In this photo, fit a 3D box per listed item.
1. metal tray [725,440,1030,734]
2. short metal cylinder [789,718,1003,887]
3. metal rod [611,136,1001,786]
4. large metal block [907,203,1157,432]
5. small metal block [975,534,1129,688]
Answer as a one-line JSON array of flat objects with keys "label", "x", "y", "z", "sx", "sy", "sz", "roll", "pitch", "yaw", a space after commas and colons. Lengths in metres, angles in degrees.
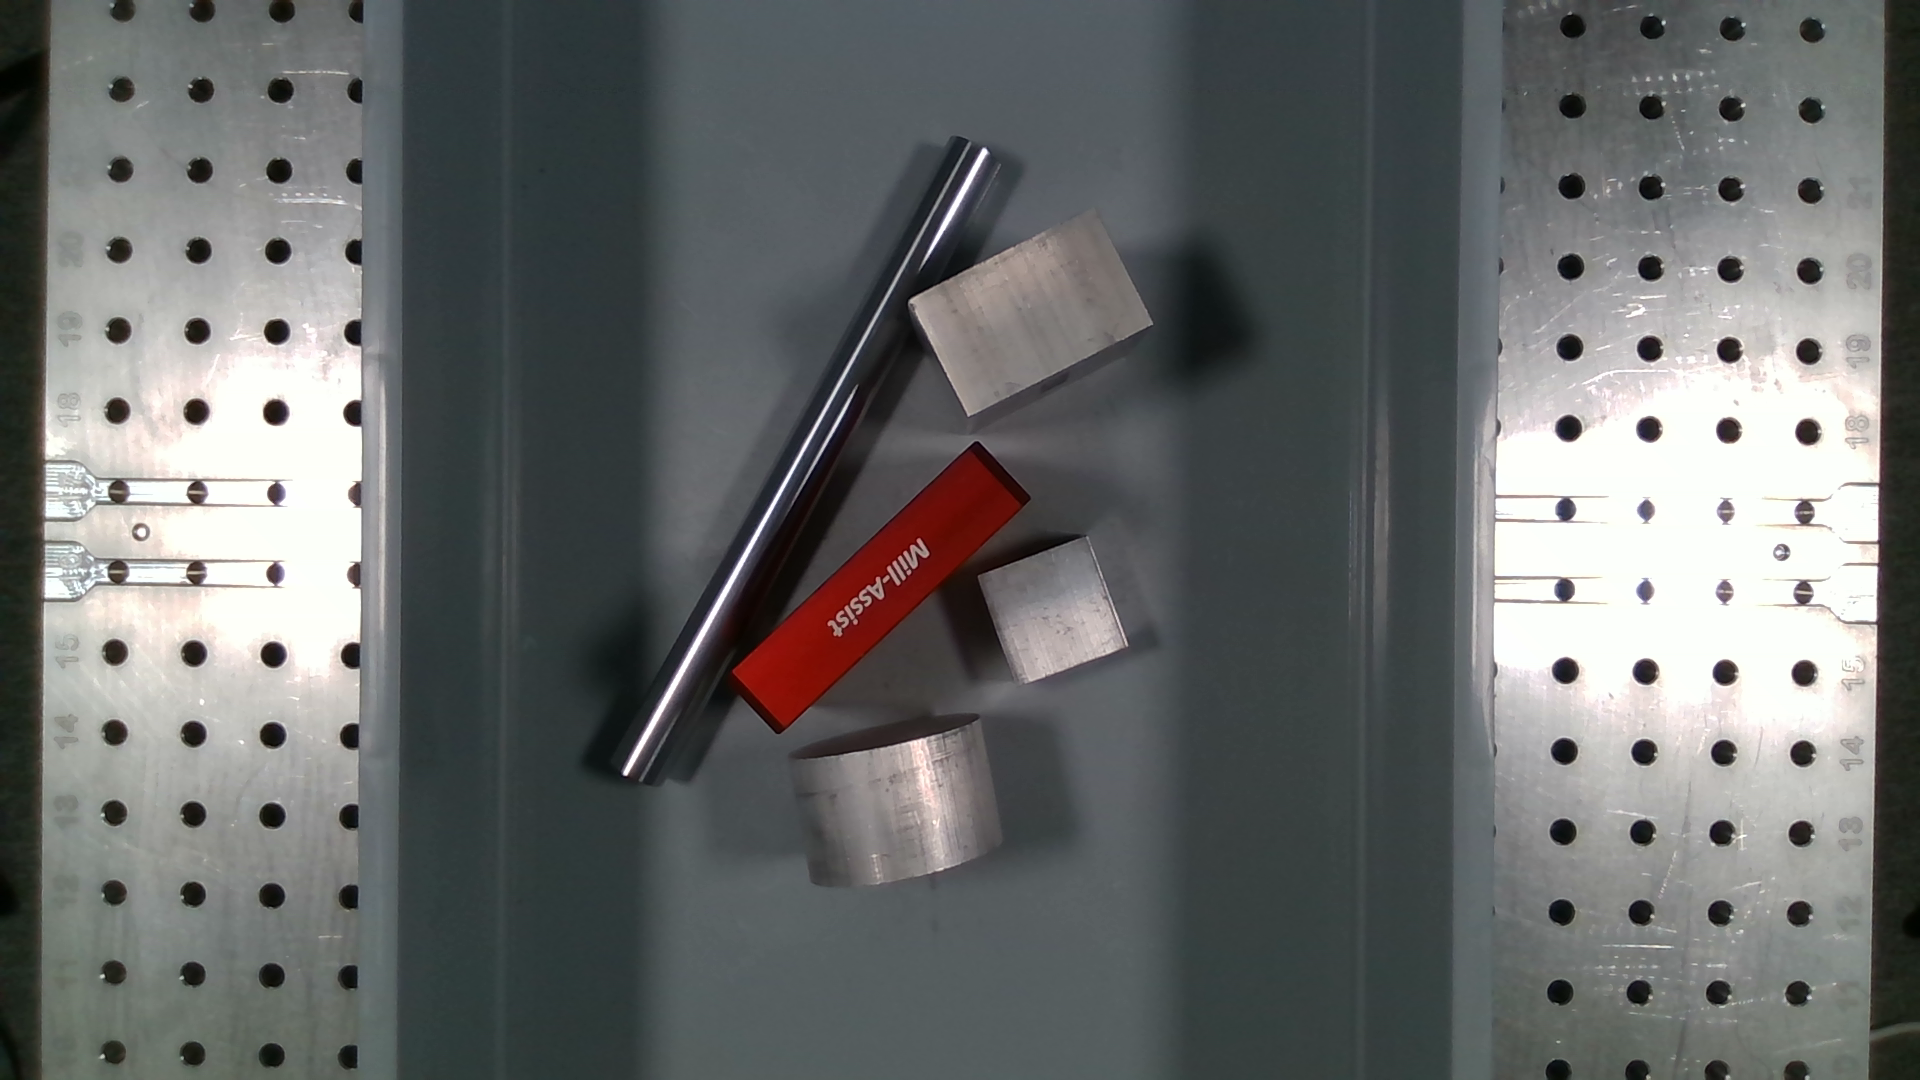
[{"label": "metal tray", "x": -0.031, "y": 0.017, "z": 0.553, "sx": 0.130, "sy": 0.090, "sz": 0.030, "roll": -43, "pitch": 91, "yaw": 0}, {"label": "short metal cylinder", "x": -0.026, "y": 0.104, "z": 0.559, "sx": 0.080, "sy": 0.080, "sz": 0.050, "roll": -12, "pitch": 89, "yaw": 0}, {"label": "metal rod", "x": -0.065, "y": -0.033, "z": 0.586, "sx": 0.025, "sy": 0.025, "sz": 0.300, "roll": 29, "pitch": 90, "yaw": 0}, {"label": "large metal block", "x": 0.027, "y": -0.086, "z": 0.558, "sx": 0.080, "sy": 0.080, "sz": 0.050, "roll": -26, "pitch": 90, "yaw": 0}, {"label": "small metal block", "x": 0.038, "y": 0.029, "z": 0.585, "sx": 0.050, "sy": 0.025, "sz": 0.050, "roll": -20, "pitch": 90, "yaw": 0}]
